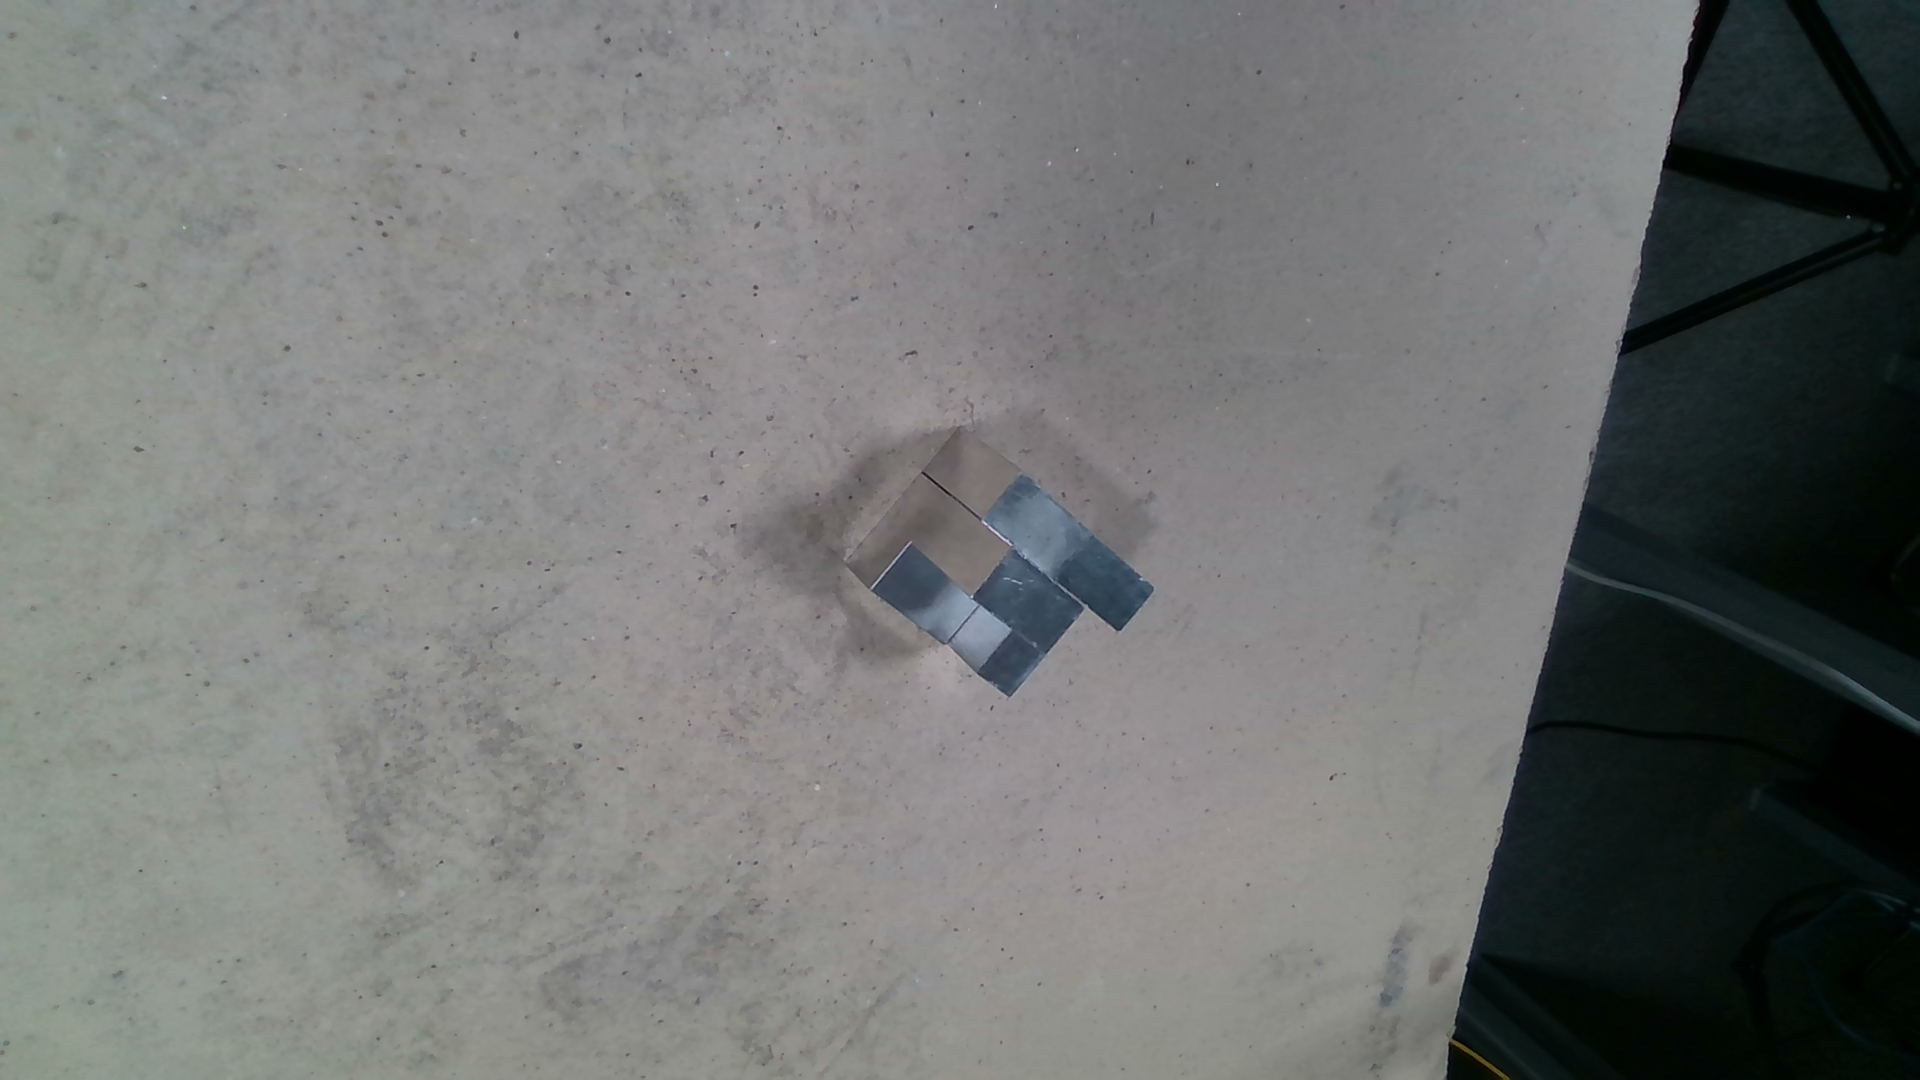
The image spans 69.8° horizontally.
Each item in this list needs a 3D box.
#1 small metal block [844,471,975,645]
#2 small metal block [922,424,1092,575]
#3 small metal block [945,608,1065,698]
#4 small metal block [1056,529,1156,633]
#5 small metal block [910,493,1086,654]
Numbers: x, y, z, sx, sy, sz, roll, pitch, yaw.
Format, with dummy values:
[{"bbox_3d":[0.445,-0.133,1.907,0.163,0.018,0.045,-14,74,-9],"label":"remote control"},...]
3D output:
[{"bbox_3d":[-0.011,0.008,0.578,0.050,0.025,0.050,-50,129,1],"label":"small metal block"},{"bbox_3d":[0.019,-0.016,0.567,0.025,0.050,0.050,-51,129,1],"label":"small metal block"},{"bbox_3d":[0.018,0.031,0.592,0.050,0.050,0.025,-50,129,1],"label":"small metal block"},{"bbox_3d":[0.050,0.008,0.599,0.025,0.050,0.050,-51,129,1],"label":"small metal block"},{"bbox_3d":[0.015,0.013,0.549,0.025,0.050,0.050,-51,129,1],"label":"small metal block"}]
